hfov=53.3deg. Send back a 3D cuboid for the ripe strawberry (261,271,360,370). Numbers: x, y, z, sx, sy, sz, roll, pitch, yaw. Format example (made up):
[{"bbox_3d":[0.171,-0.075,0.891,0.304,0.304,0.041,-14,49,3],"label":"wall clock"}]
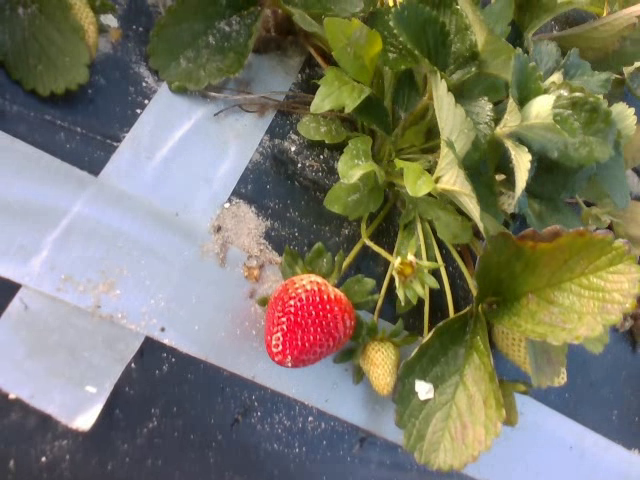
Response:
[{"bbox_3d":[-0.003,0.019,0.130,0.023,0.021,0.026,33,40,6],"label":"ripe strawberry"}]
